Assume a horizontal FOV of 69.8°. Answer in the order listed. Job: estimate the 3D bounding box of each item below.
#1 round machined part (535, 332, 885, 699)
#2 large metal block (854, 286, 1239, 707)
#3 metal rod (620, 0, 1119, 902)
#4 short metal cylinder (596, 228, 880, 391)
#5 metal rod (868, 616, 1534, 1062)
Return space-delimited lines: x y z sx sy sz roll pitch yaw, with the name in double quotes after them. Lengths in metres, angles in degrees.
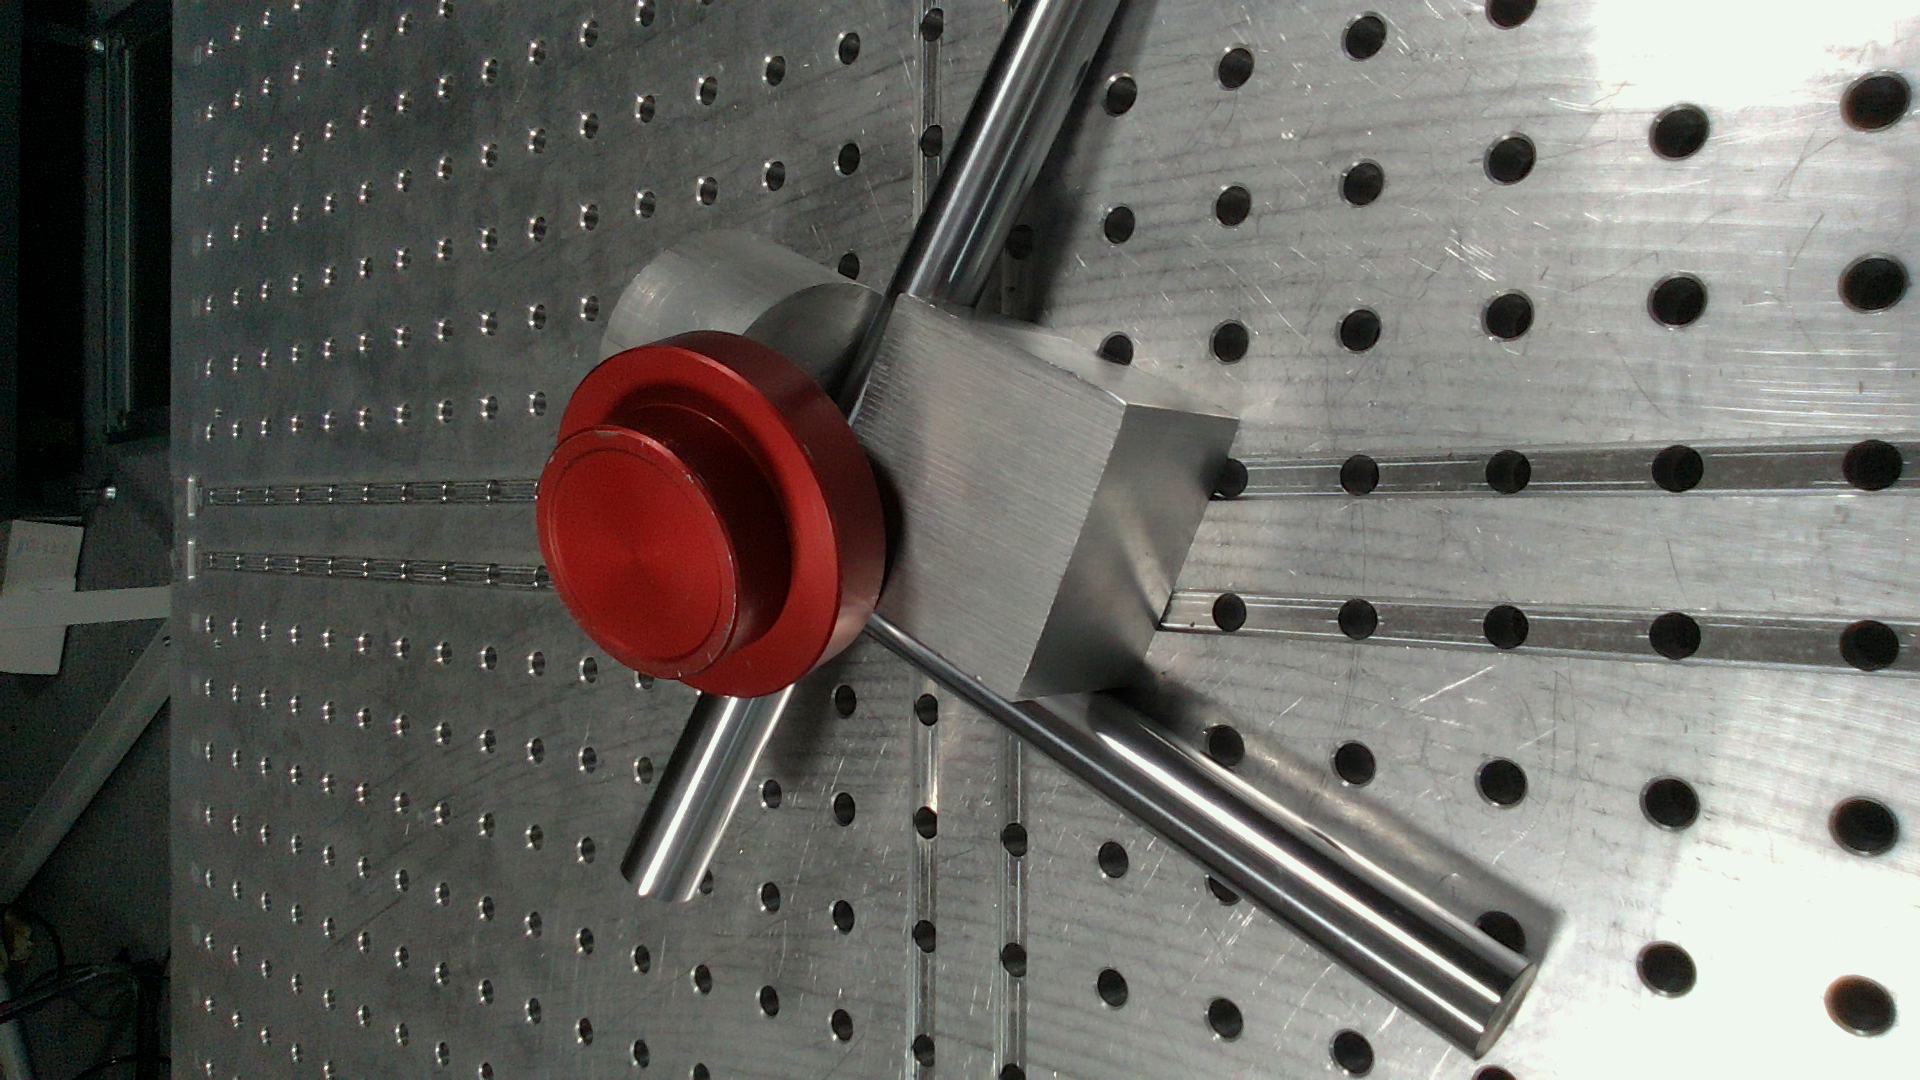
-0.072 -0.002 0.361 0.098 0.042 0.098 13 117 28 "round machined part"
0.014 -0.013 0.365 0.080 0.050 0.080 32 110 36 "large metal block"
-0.028 -0.028 0.396 0.025 0.025 0.300 34 104 35 "metal rod"
-0.061 -0.047 0.412 0.050 0.080 0.080 31 109 36 "short metal cylinder"
0.014 0.040 0.385 0.299 0.025 0.025 31 110 36 "metal rod"
